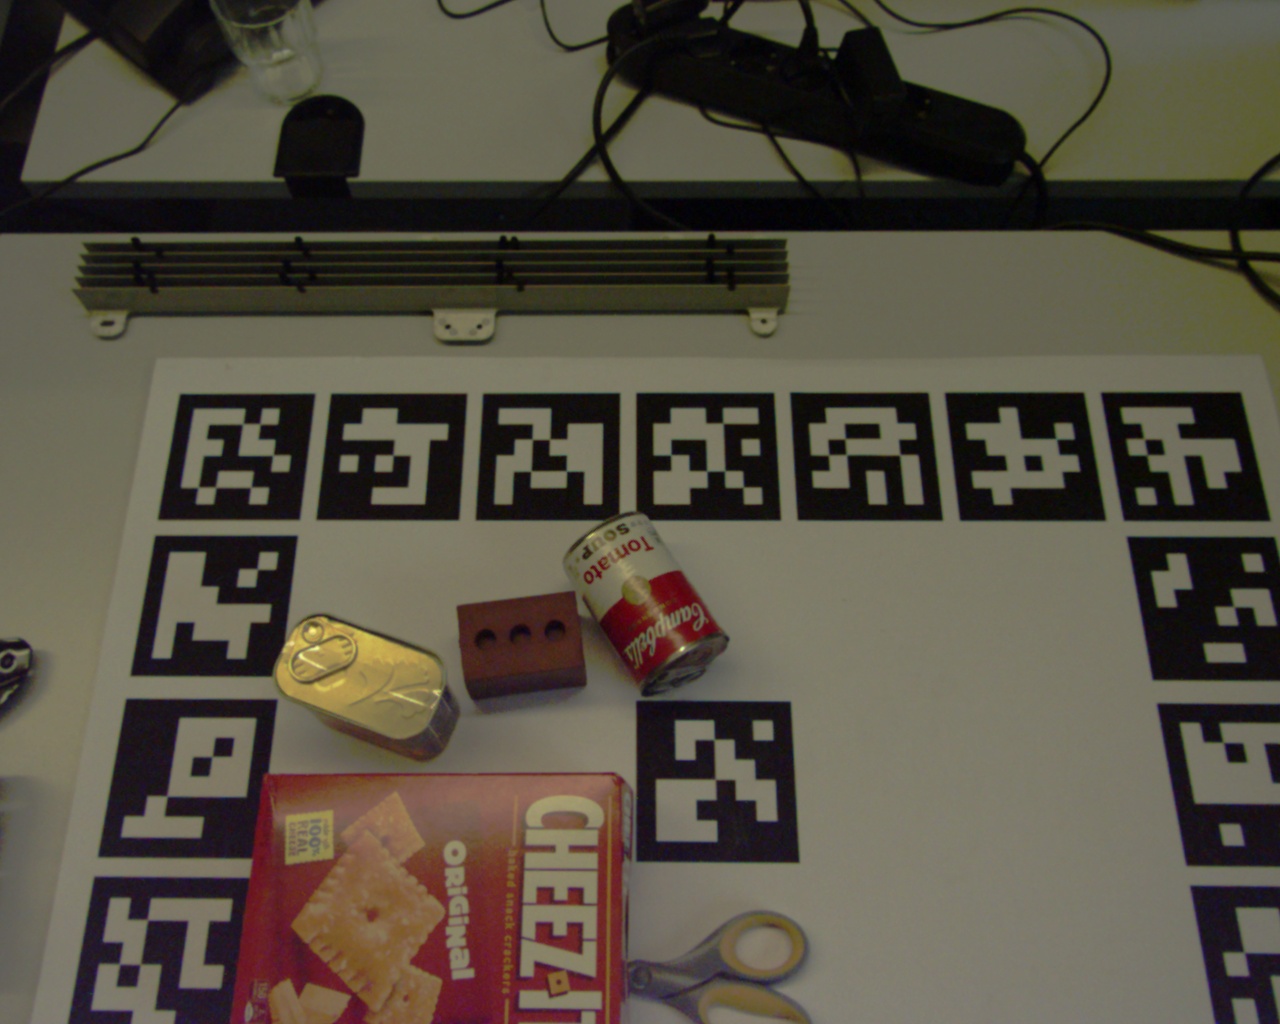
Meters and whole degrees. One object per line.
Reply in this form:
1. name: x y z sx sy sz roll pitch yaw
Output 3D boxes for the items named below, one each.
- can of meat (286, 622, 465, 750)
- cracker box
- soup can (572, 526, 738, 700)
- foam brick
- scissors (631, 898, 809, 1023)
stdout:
1. can of meat: -0.169 0.117 0.747 0.102 0.083 0.058 13 70 5
2. cracker box: -0.116 0.246 0.688 0.214 0.071 0.165 -6 68 3
3. soup can: 0.009 0.068 0.780 0.067 0.067 0.103 -36 67 -12
4. foam brick: -0.073 0.094 0.773 0.078 0.051 0.053 -10 70 -3
5. scissors: -0.001 0.290 0.702 0.203 0.016 0.088 -5 69 0
